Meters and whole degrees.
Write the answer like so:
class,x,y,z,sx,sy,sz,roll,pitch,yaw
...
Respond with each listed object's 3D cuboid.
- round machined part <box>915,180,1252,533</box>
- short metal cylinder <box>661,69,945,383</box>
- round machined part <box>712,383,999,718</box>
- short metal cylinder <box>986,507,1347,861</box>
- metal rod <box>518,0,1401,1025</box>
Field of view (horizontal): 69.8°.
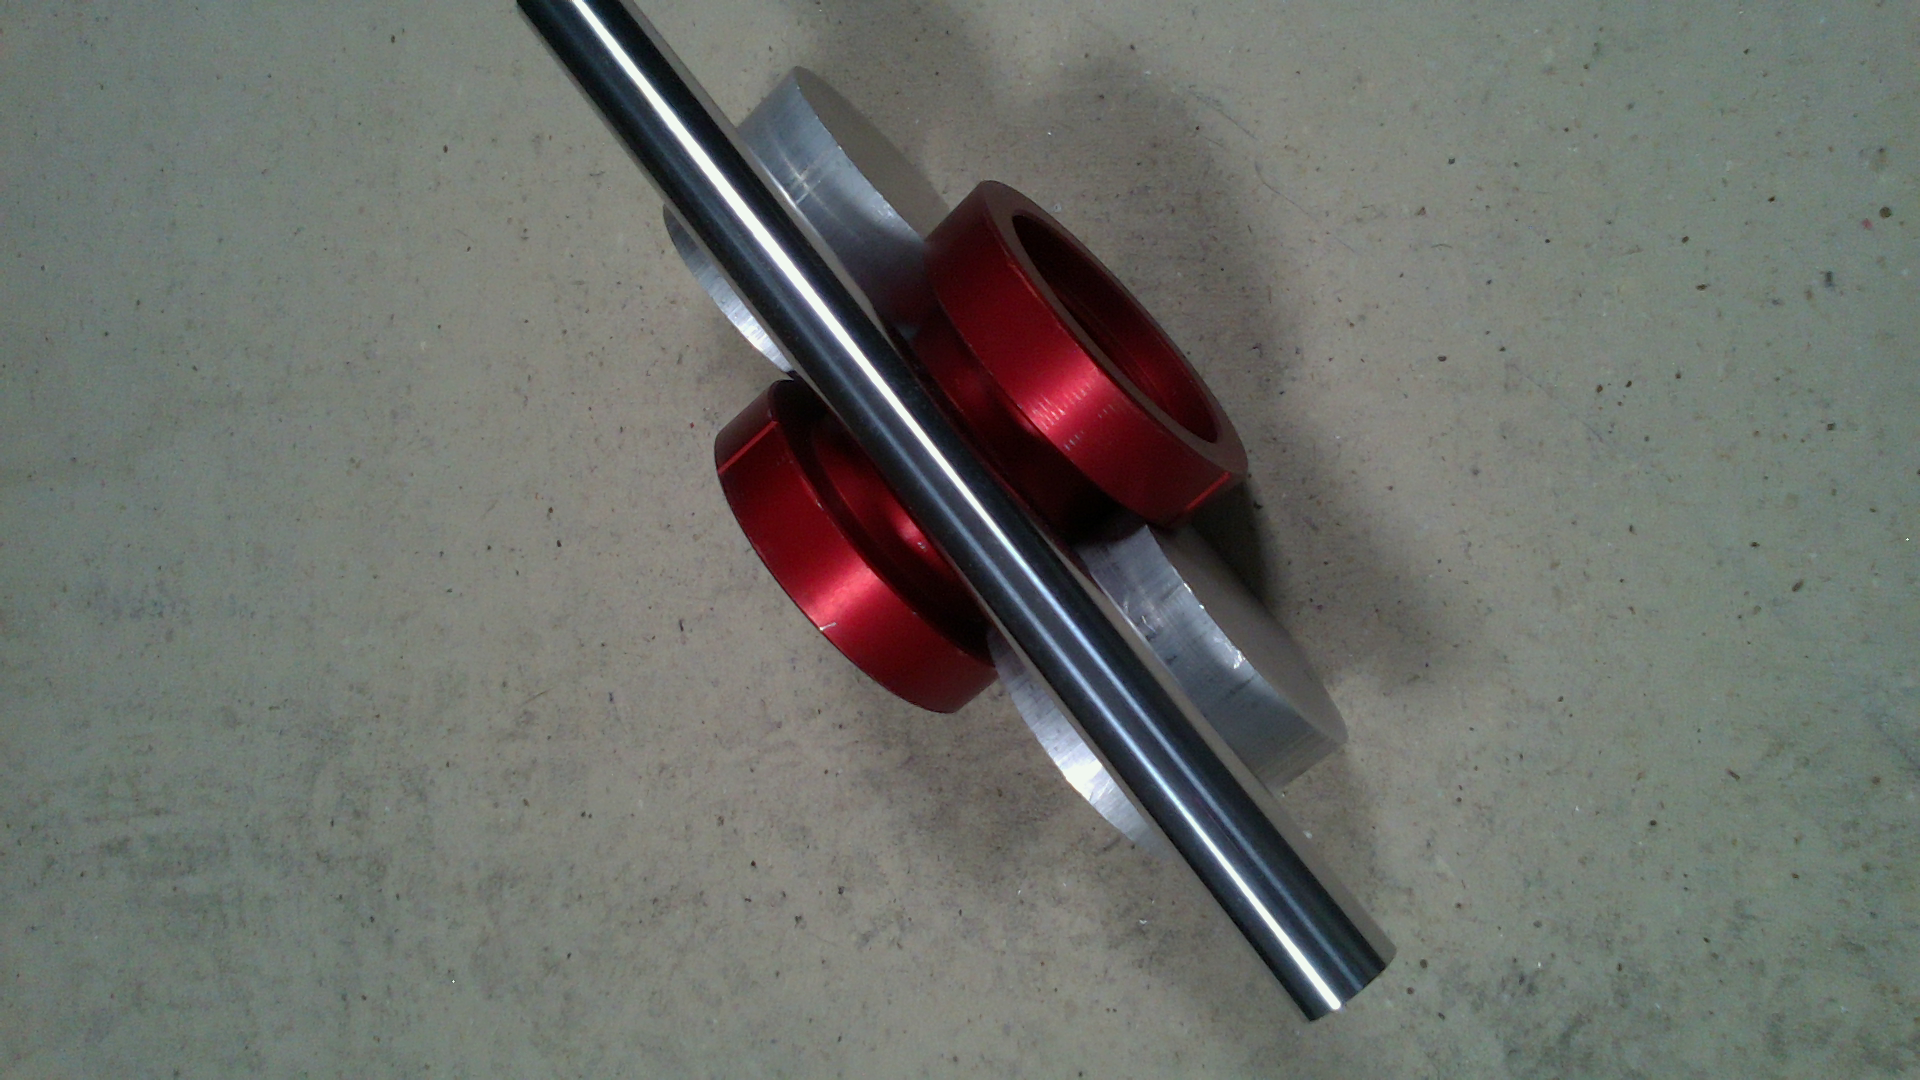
class,x,y,z,sx,sy,sz,roll,pitch,yaw
round machined part,0.026,-0.040,0.348,0.042,0.098,0.098,-42,77,20
short metal cylinder,-0.035,-0.082,0.379,0.050,0.080,0.080,-41,77,16
round machined part,-0.015,-0.005,0.361,0.042,0.098,0.098,-40,77,12
short metal cylinder,0.052,0.033,0.348,0.050,0.080,0.080,-41,77,16
metal rod,-0.010,-0.023,0.315,0.025,0.025,0.300,-42,77,15
